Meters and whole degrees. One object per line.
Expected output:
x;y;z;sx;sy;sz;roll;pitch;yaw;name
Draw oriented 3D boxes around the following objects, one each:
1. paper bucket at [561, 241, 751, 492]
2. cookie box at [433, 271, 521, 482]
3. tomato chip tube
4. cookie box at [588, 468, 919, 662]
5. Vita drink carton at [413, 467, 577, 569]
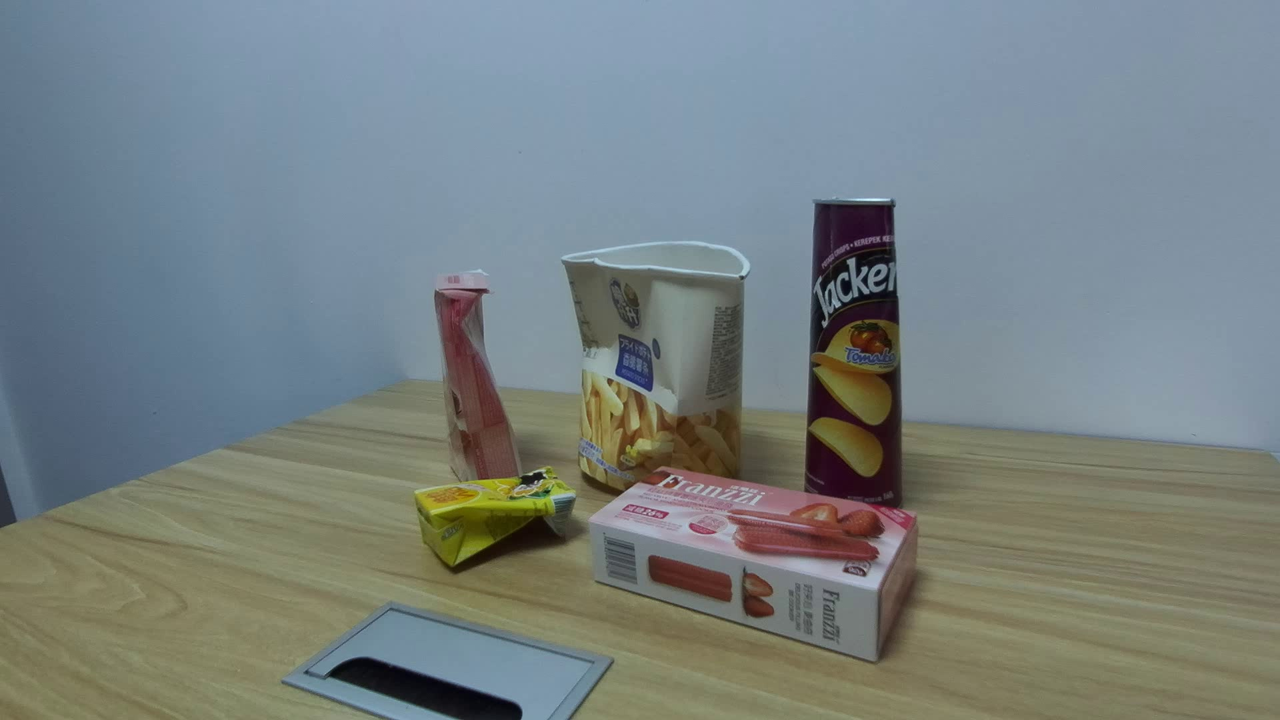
0.015;0.003;0.614;0.217;0.199;0.148;5;16;31;paper bucket
-0.143;0.019;0.619;0.055;0.184;0.118;-9;15;-18;cookie box
0.163;-0.002;0.532;0.076;0.235;0.078;7;15;35;tomato chip tube
0.069;0.119;0.446;0.183;0.048;0.096;6;17;31;cookie box
-0.105;0.114;0.525;0.109;0.042;0.086;-6;7;-29;Vita drink carton
